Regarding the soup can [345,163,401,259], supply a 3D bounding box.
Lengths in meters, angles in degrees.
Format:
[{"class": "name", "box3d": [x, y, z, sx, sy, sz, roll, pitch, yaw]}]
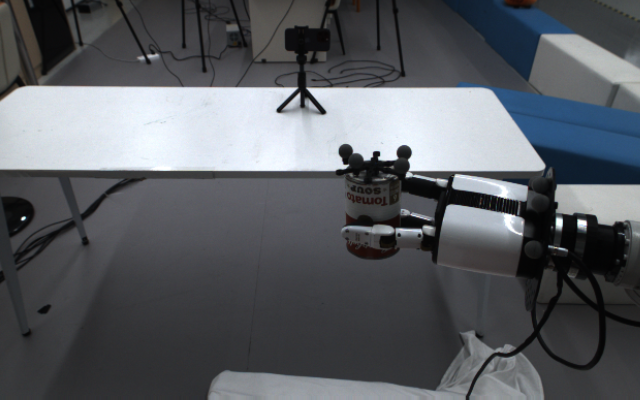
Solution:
[{"class": "soup can", "box3d": [0.066, 0.010, 0.583, 0.067, 0.101, 0.067, -4, 27, 2]}]
